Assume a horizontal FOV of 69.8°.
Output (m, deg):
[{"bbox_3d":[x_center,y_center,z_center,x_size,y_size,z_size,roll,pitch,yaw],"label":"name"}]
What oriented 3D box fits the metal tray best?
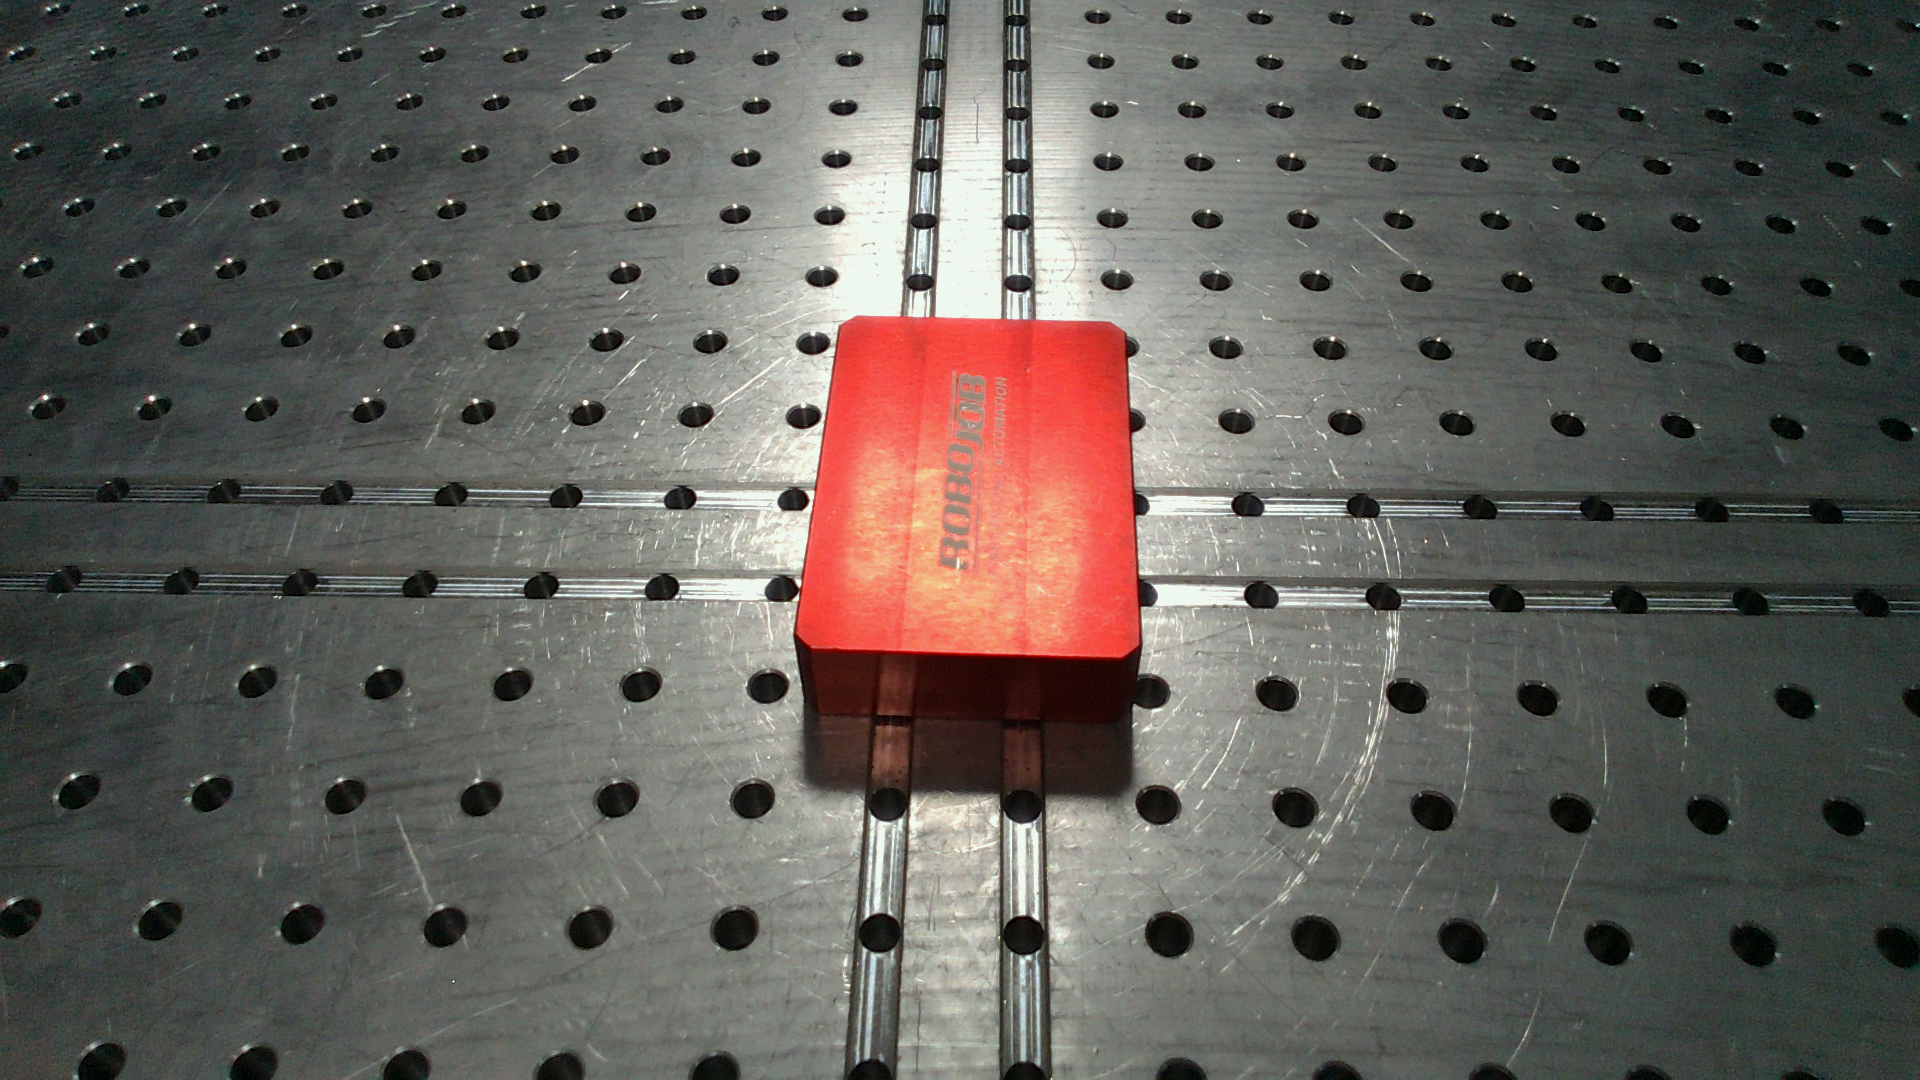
[{"bbox_3d":[0.004,-0.011,0.400,0.090,0.030,0.130,2,50,1],"label":"metal tray"}]
